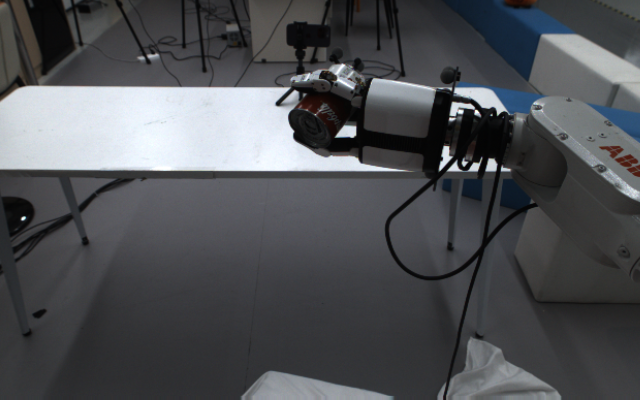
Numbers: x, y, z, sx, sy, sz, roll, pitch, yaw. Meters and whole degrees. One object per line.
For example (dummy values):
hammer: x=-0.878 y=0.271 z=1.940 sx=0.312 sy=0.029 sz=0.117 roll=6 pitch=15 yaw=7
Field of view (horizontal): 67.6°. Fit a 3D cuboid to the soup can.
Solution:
soup can: x=0.014 y=-0.130 z=0.656 sx=0.067 sy=0.067 sz=0.101 roll=22 pitch=60 yaw=26
